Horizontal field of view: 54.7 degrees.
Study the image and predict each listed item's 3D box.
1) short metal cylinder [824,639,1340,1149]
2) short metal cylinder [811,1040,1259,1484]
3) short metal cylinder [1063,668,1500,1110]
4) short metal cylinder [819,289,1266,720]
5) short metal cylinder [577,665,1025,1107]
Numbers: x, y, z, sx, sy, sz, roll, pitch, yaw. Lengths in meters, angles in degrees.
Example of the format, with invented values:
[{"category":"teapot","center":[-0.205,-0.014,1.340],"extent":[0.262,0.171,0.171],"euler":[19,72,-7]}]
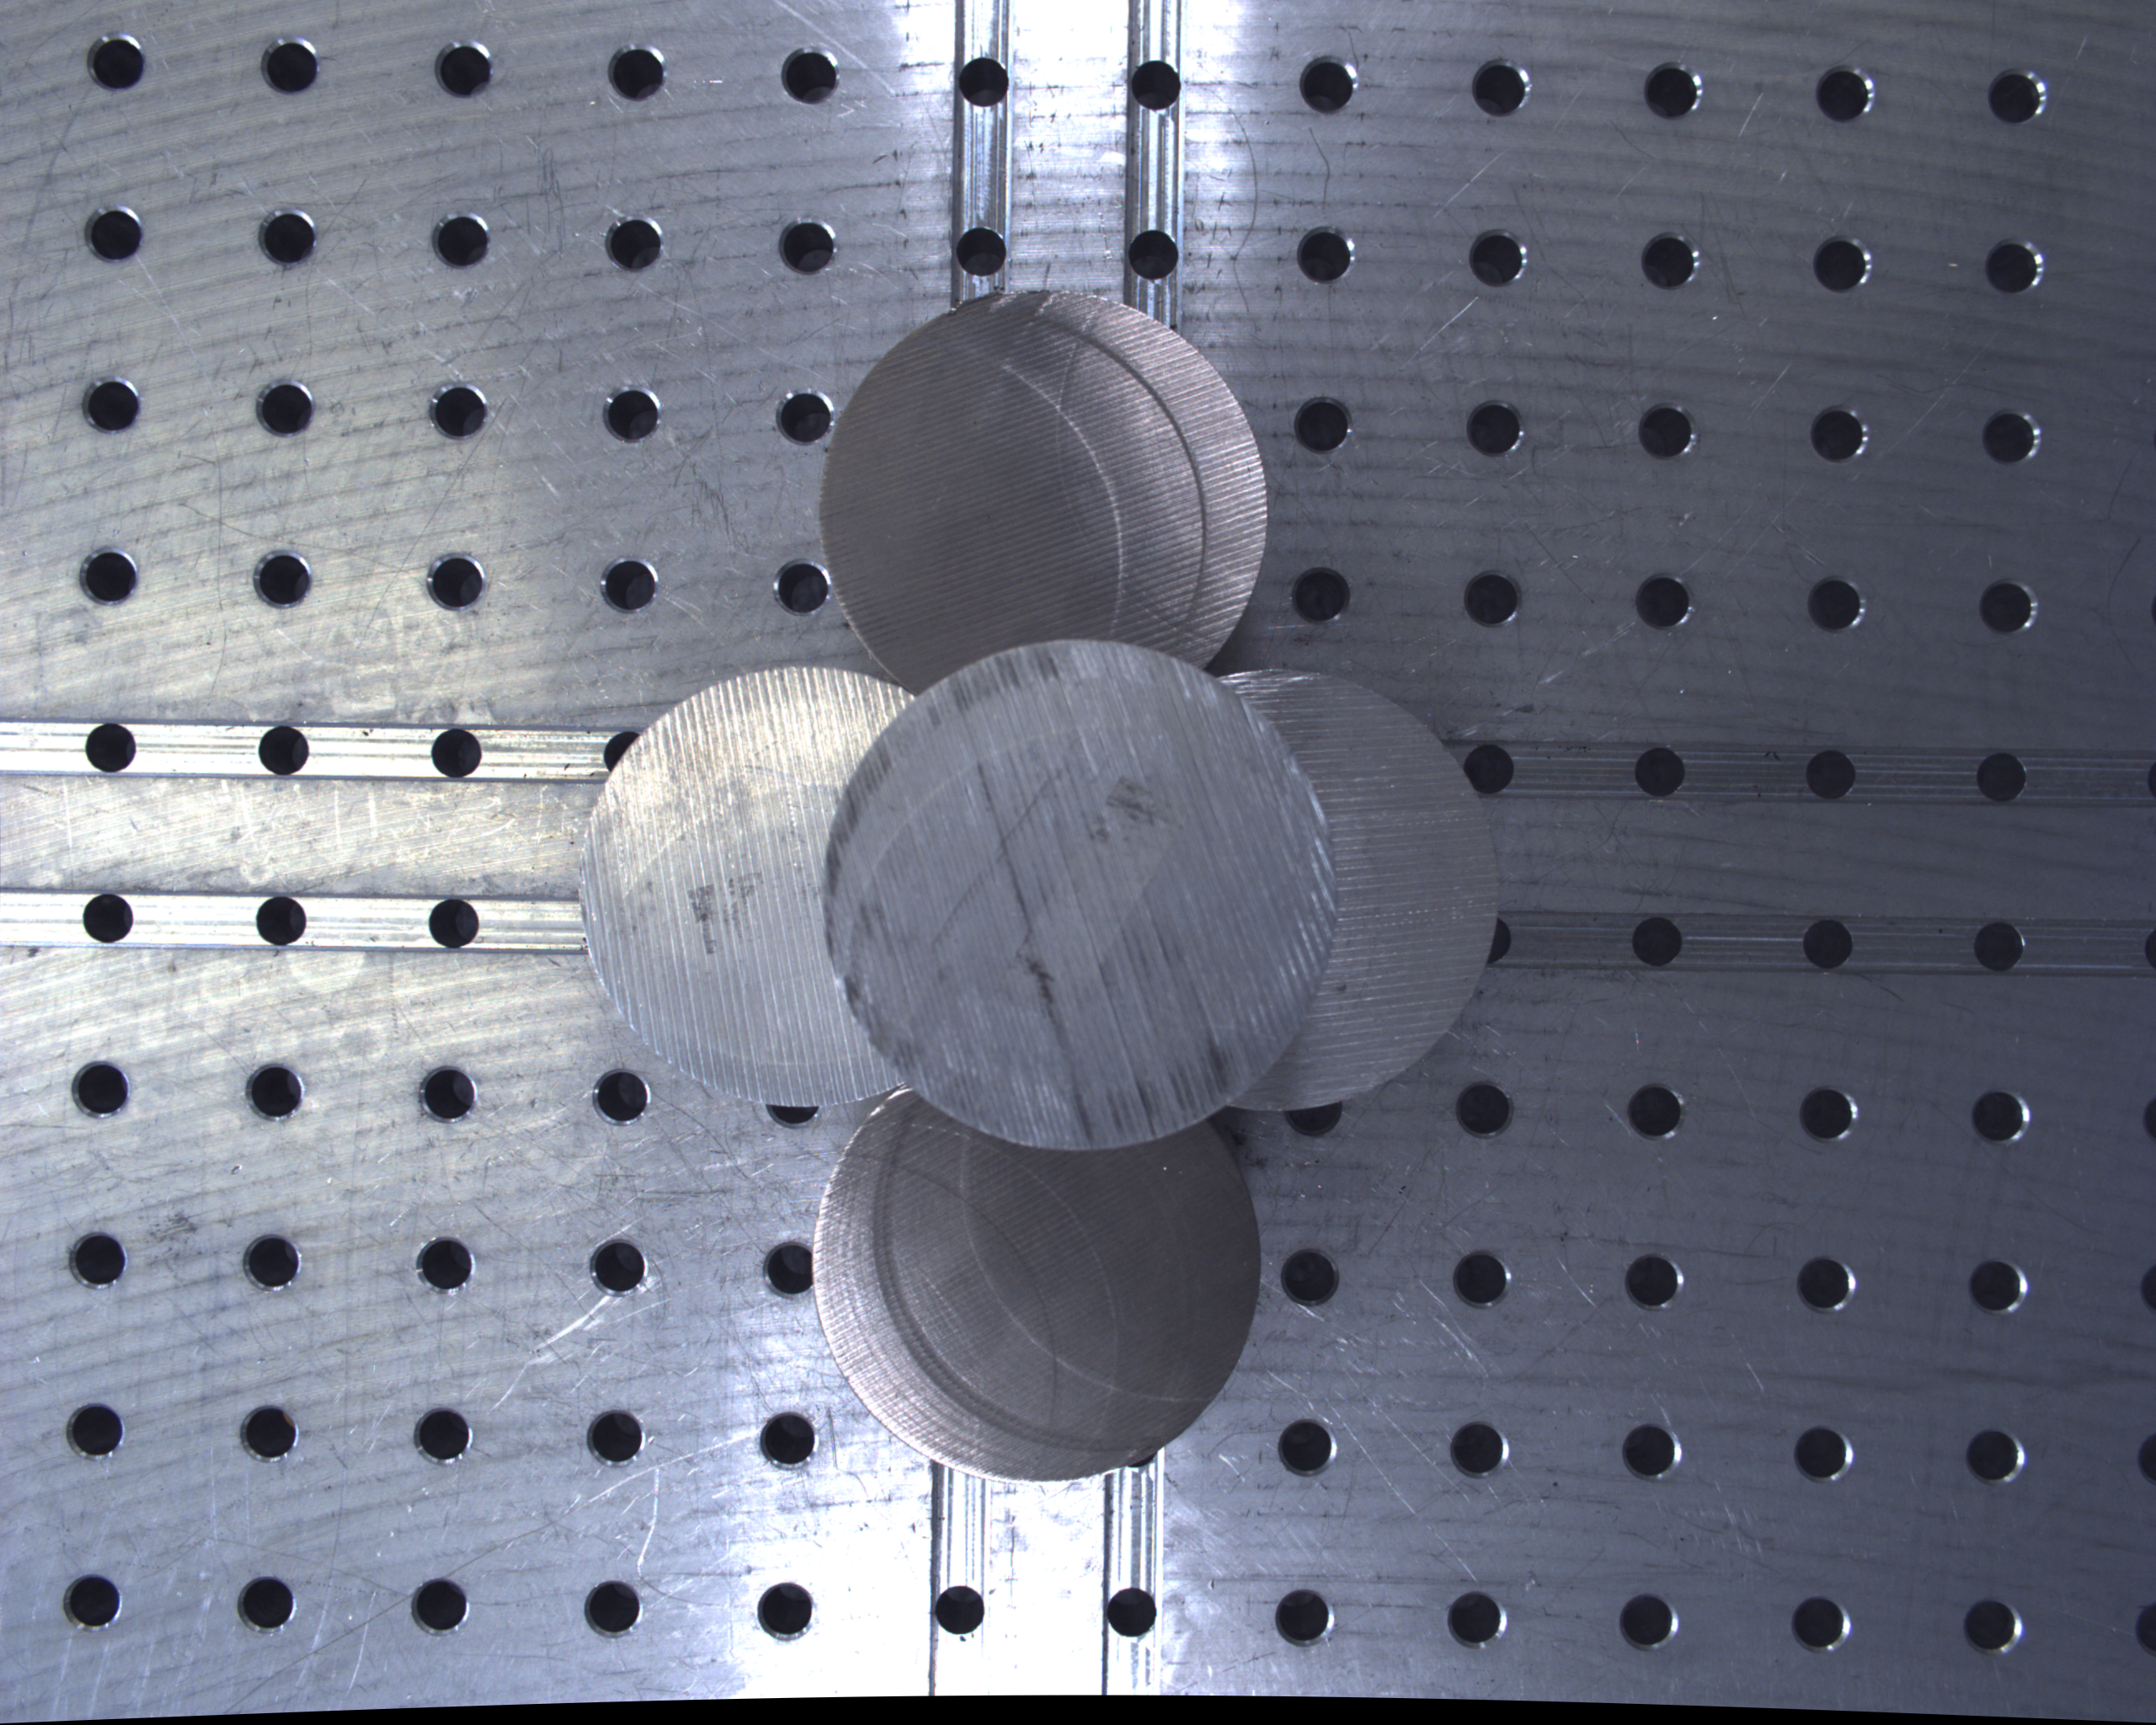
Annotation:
[{"category":"short metal cylinder","center":[0.001,0.005,0.350],"extent":[0.081,0.050,0.079],"euler":[0,90,0]},{"category":"short metal cylinder","center":[-0.008,0.072,0.400],"extent":[0.081,0.050,0.080],"euler":[0,88,-1]},{"category":"short metal cylinder","center":[0.036,0.005,0.400],"extent":[0.081,0.050,0.079],"euler":[0,90,0]},{"category":"short metal cylinder","center":[-0.007,-0.064,0.400],"extent":[0.081,0.050,0.079],"euler":[0,90,-1]},{"category":"short metal cylinder","center":[-0.050,0.004,0.400],"extent":[0.081,0.050,0.079],"euler":[0,90,0]}]
